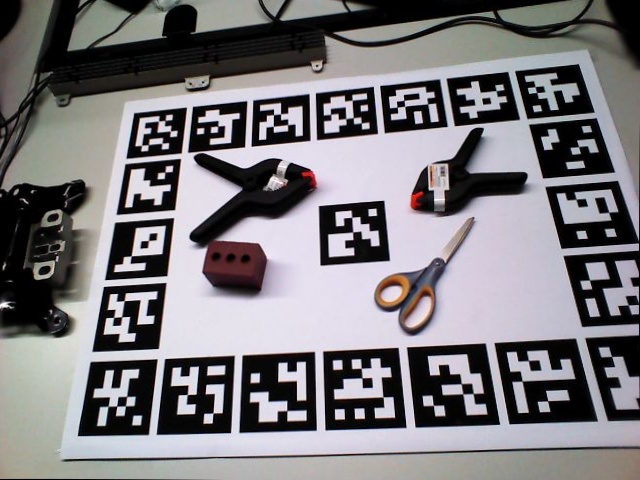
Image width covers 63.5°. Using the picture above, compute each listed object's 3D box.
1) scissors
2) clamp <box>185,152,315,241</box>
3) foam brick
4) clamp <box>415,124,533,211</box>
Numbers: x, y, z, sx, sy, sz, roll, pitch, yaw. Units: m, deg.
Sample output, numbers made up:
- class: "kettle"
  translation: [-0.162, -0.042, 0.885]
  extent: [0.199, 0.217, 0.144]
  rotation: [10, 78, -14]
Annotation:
- class: "scissors"
  translation: [0.155, 0.042, 0.721]
  extent: [0.088, 0.016, 0.202]
  rotation: [36, 73, 14]
- class: "clamp"
  translation: [-0.109, -0.083, 0.814]
  extent: [0.203, 0.037, 0.164]
  rotation: [-7, 61, 4]
- class: "foam brick"
  translation: [-0.126, 0.039, 0.753]
  extent: [0.078, 0.051, 0.052]
  rotation: [2, 66, 14]
- class: "clamp"
  translation: [0.215, -0.094, 0.774]
  extent: [0.165, 0.036, 0.121]
  rotation: [-29, 71, -5]
